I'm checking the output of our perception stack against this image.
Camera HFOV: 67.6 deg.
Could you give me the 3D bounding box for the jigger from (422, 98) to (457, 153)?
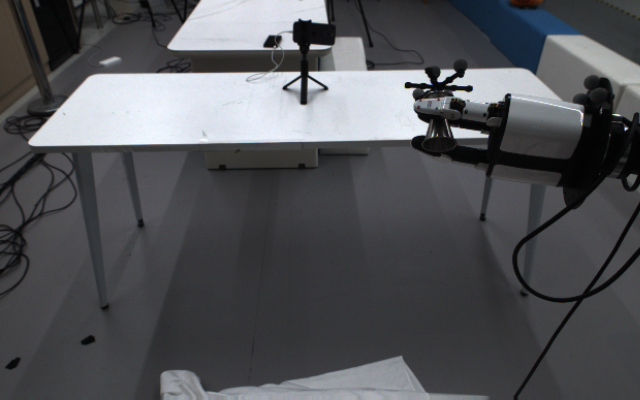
[{"bbox_3d":[0.152,-0.103,0.628,0.043,0.043,0.071,4,71,2],"label":"jigger"}]
